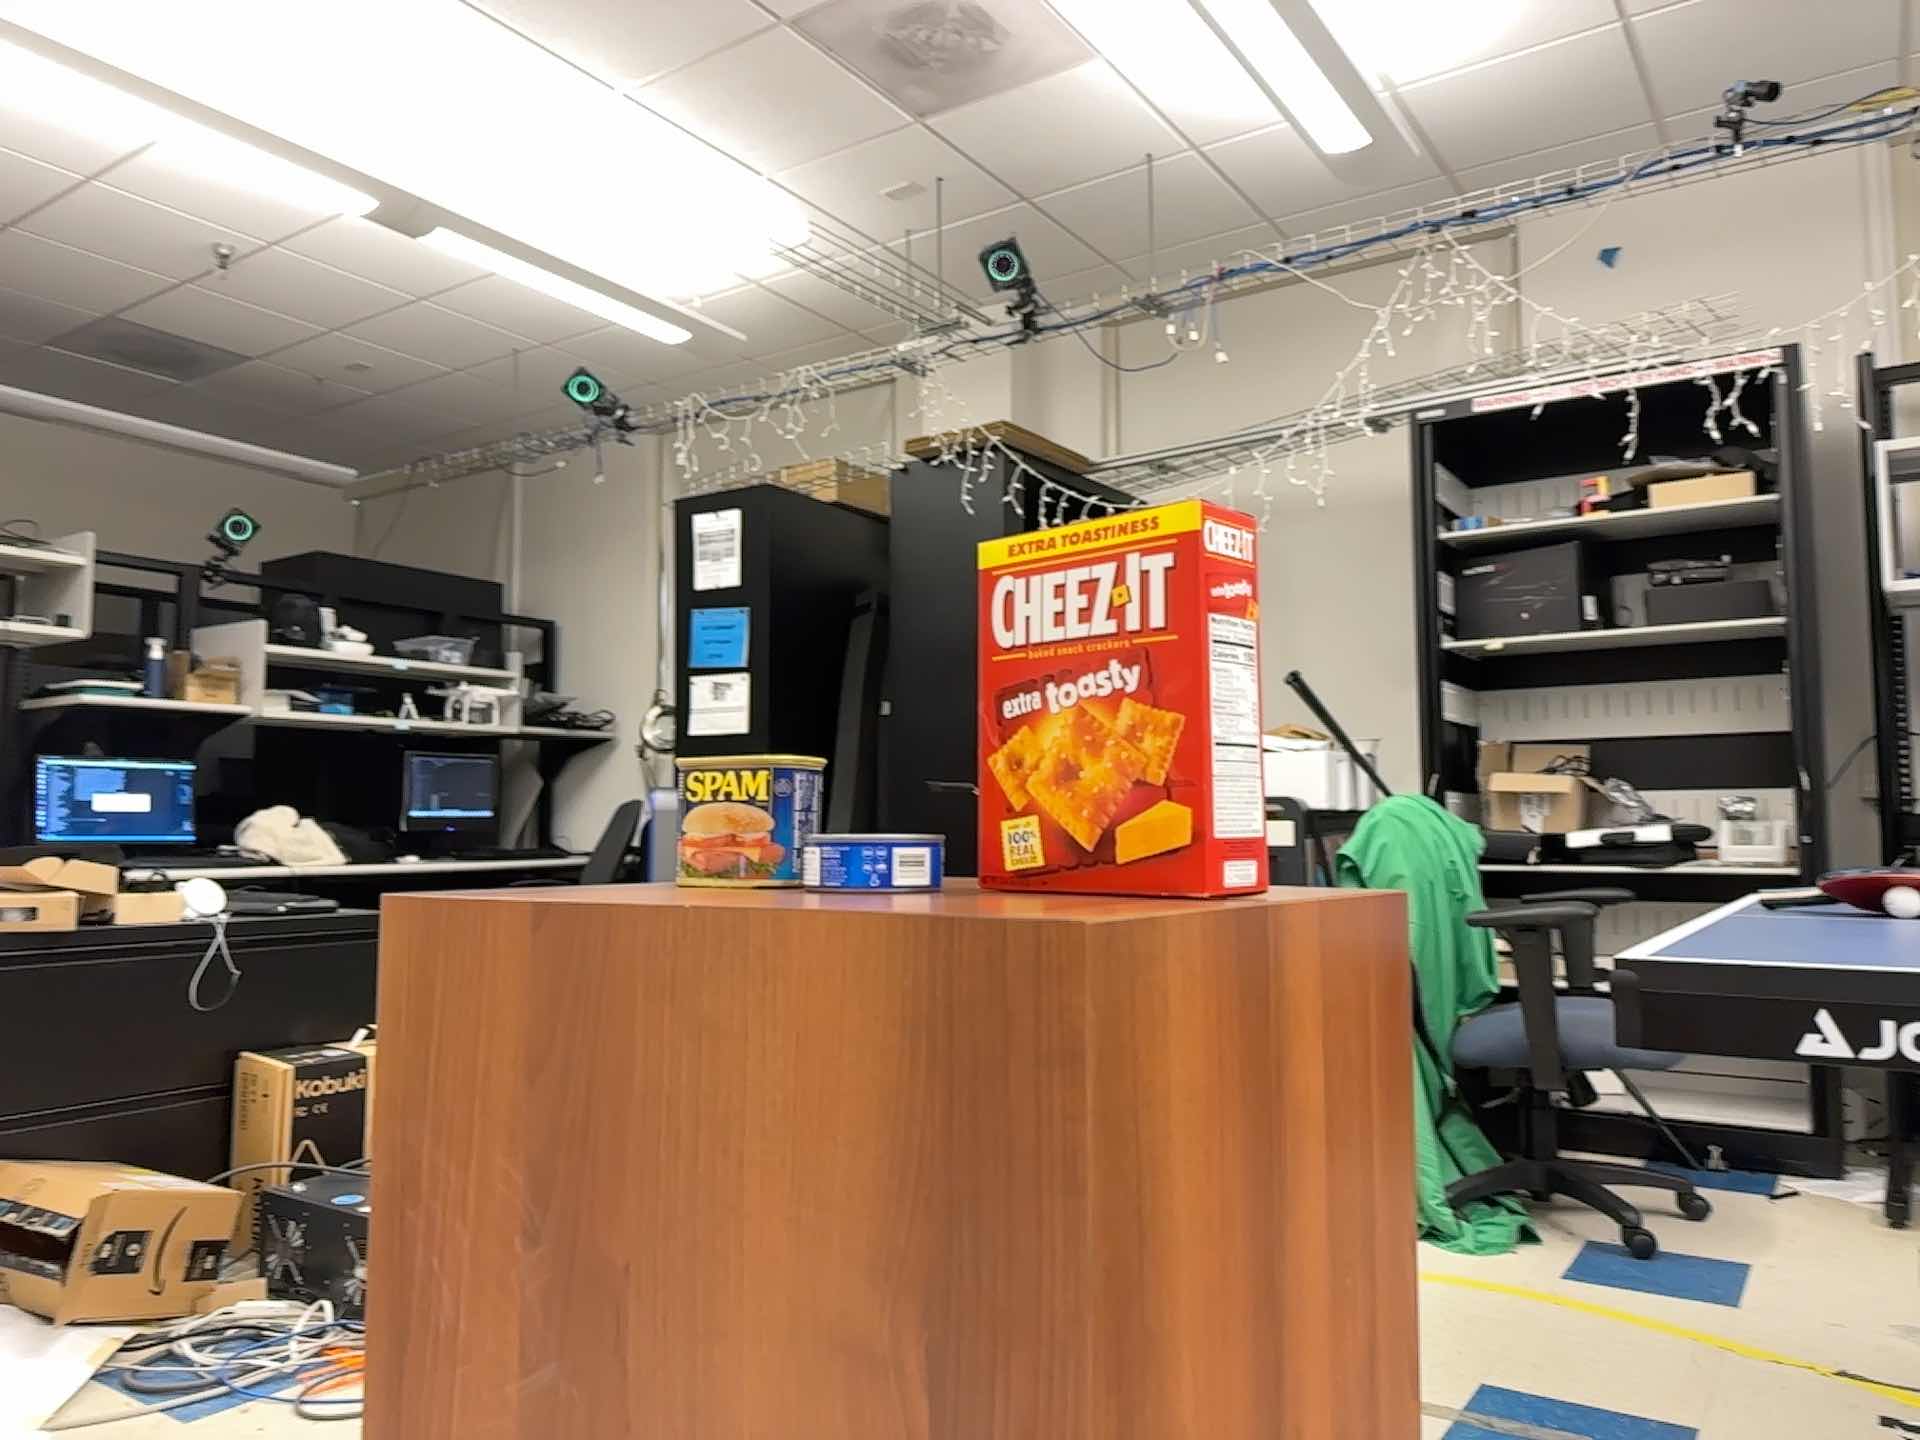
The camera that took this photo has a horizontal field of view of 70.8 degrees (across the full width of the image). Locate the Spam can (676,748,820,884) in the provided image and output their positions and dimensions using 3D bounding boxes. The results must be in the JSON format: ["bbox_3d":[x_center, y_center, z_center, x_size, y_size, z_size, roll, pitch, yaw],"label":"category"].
[{"bbox_3d":[-0.141,0.064,0.886,0.100,0.083,0.056,-6,-9,43],"label":"Spam can"}]

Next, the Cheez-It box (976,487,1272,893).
[{"bbox_3d":[0.092,-0.010,0.799,0.159,0.214,0.062,-6,-8,40],"label":"Cheez-It box"}]

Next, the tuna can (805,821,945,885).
[{"bbox_3d":[-0.052,0.081,0.815,0.083,0.034,0.083,0,-9,0],"label":"tuna can"}]
